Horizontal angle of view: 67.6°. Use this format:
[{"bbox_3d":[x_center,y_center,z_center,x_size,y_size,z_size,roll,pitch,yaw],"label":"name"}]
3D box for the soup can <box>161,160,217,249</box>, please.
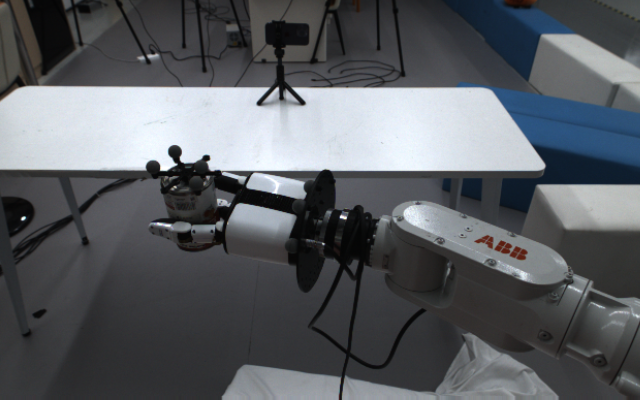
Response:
[{"bbox_3d":[-0.170,0.012,0.648,0.067,0.101,0.067,1,39,-1],"label":"soup can"}]
